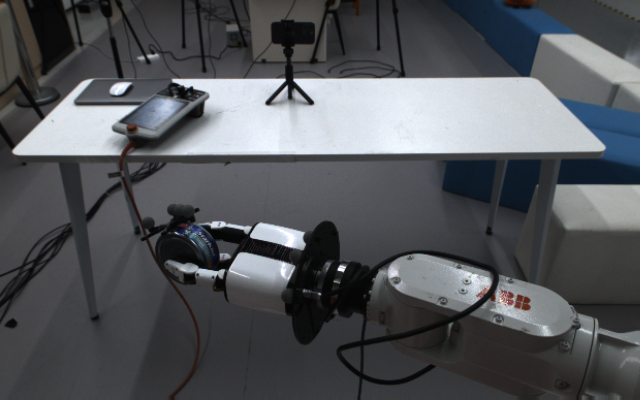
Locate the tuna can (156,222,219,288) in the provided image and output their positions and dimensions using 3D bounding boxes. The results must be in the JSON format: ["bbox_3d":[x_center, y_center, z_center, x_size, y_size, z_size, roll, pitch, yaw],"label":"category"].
[{"bbox_3d":[-0.182,0.082,0.671,0.085,0.085,0.034,15,30,17],"label":"tuna can"}]
